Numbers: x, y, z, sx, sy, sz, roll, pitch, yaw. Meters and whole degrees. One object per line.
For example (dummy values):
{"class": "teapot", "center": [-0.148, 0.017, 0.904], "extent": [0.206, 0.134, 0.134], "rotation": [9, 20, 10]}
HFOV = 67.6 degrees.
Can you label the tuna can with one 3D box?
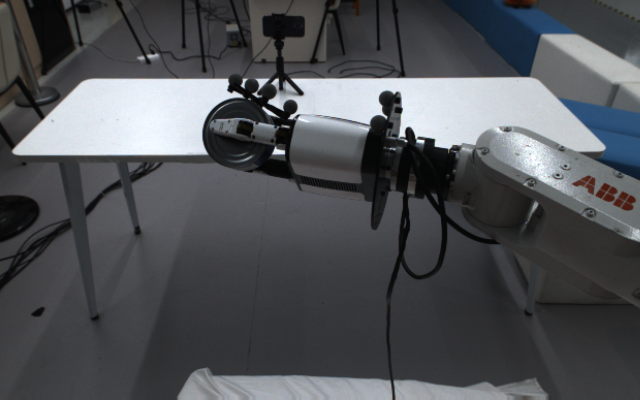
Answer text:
{"class": "tuna can", "center": [-0.097, -0.079, 0.596], "extent": [0.085, 0.085, 0.034], "rotation": [10, -4, 11]}
